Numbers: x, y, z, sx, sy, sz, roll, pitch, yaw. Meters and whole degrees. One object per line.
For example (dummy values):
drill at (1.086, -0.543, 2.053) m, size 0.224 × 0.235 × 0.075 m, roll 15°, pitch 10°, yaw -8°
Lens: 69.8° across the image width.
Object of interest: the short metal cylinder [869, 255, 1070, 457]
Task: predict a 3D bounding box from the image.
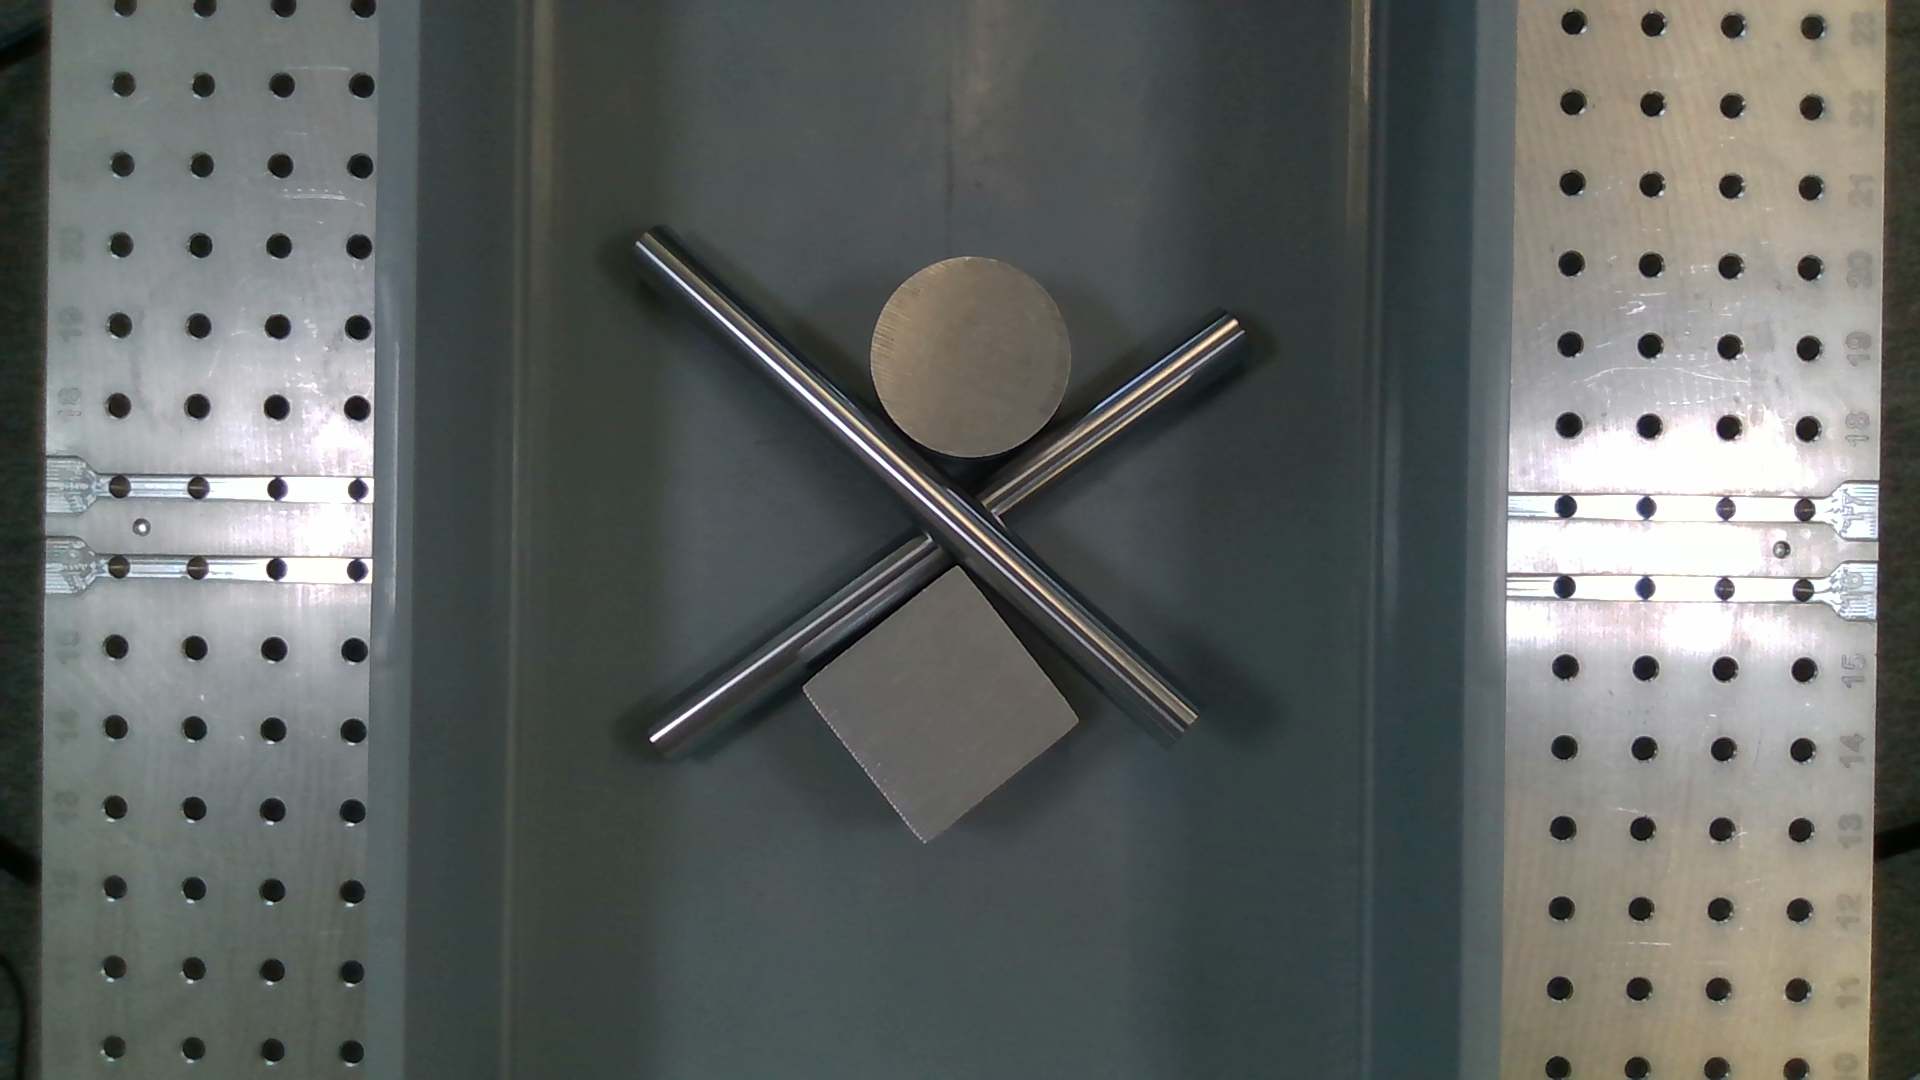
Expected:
short metal cylinder at (0.004, -0.074, 0.573) m, size 0.080 × 0.050 × 0.080 m, roll 0°, pitch 90°, yaw 0°

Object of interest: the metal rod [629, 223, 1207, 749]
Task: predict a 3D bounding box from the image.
metal rod at (-0.021, -0.026, 0.565) m, size 0.300 × 0.025 × 0.025 m, roll 42°, pitch 90°, yaw 8°

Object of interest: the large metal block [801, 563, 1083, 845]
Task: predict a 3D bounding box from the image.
large metal block at (-0.007, 0.065, 0.573) m, size 0.080 × 0.050 × 0.080 m, roll -38°, pitch 90°, yaw 0°

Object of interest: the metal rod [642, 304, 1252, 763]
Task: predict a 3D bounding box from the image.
metal rod at (-0.006, -0.003, 0.585) m, size 0.300 × 0.025 × 0.025 m, roll -36°, pitch 90°, yaw 0°
